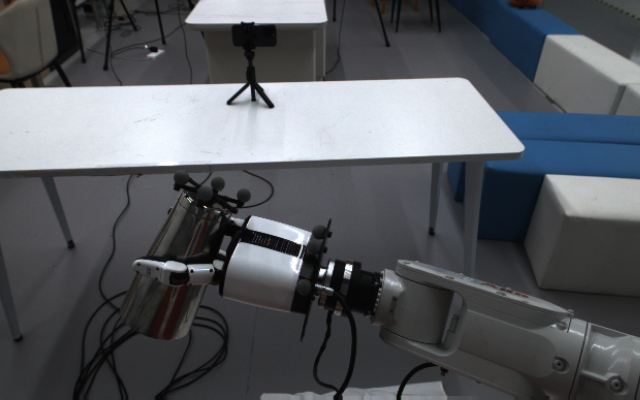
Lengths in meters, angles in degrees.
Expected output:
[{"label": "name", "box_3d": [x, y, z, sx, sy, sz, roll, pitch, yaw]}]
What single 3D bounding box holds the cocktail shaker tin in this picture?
[{"label": "cocktail shaker tin", "box_3d": [-0.169, 0.073, 0.597, 0.093, 0.170, 0.093, 24, 12, -6]}]
